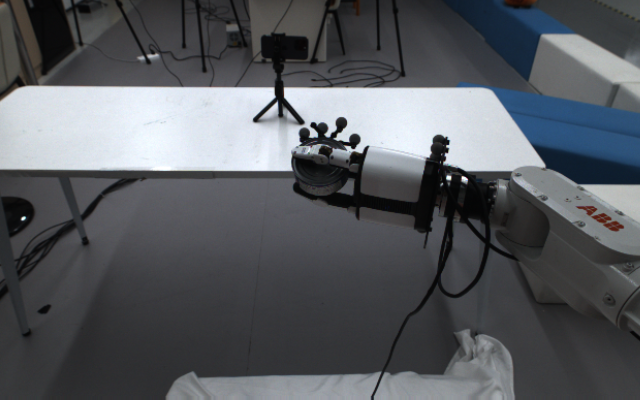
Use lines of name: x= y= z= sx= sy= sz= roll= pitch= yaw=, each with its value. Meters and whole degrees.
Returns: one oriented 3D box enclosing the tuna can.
tuna can: x=0.001 y=-0.051 z=0.717 sx=0.085 sy=0.034 sz=0.085 roll=-2 pitch=58 yaw=4
